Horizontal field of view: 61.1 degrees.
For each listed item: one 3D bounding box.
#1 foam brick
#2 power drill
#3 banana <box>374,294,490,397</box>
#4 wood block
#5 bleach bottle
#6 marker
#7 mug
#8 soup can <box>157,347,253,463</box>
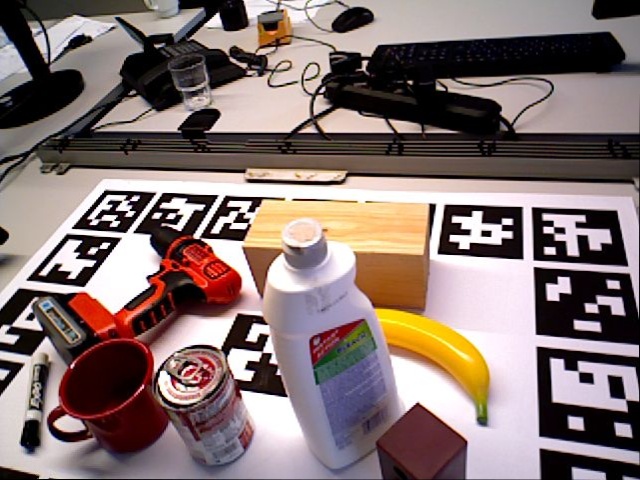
[{"bbox_3d":[0.093,0.182,0.438,0.050,0.079,0.053,-33,43,-27],"label":"foam brick"},{"bbox_3d":[-0.213,0.072,0.660,0.185,0.058,0.183,29,54,33],"label":"power drill"},{"bbox_3d":[0.088,0.094,0.564,0.198,0.039,0.073,16,62,26],"label":"banana"},{"bbox_3d":[0.028,0.015,0.634,0.207,0.092,0.088,2,44,16],"label":"wood block"},{"bbox_3d":[0.016,0.081,0.435,0.068,0.255,0.100,28,52,37],"label":"bleach bottle"},{"bbox_3d":[-0.311,0.178,0.587,0.019,0.020,0.120,-19,42,-5],"label":"marker"},{"bbox_3d":[-0.204,0.156,0.533,0.115,0.083,0.093,-30,46,-16],"label":"mug"},{"bbox_3d":[-0.101,0.147,0.495,0.068,0.104,0.067,-5,38,3],"label":"soup can"}]
